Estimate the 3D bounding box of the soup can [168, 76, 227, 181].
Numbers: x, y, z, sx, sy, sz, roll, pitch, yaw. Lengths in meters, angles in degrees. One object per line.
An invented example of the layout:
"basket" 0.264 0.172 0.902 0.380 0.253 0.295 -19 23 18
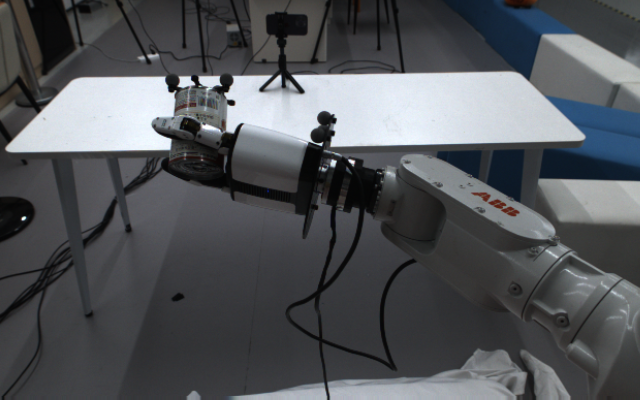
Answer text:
"soup can" -0.153 -0.083 0.610 0.067 0.067 0.101 1 73 -2
